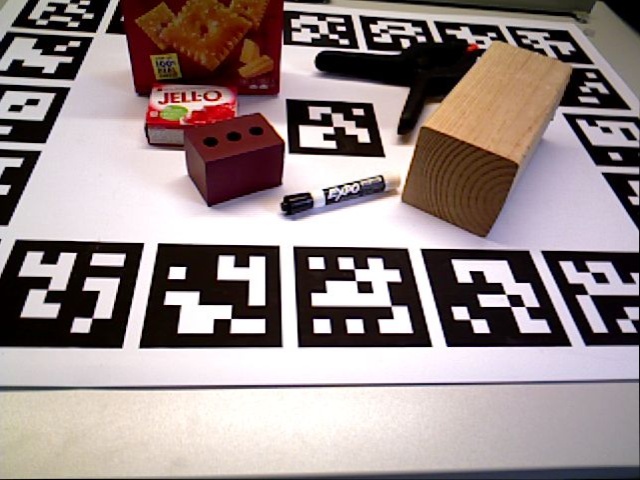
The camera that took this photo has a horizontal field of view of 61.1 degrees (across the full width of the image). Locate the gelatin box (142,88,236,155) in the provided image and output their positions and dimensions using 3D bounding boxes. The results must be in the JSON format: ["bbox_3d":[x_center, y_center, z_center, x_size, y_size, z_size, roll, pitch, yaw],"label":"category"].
[{"bbox_3d":[-0.129,-0.120,0.546,0.088,0.031,0.072,-1,51,-8],"label":"gelatin box"}]

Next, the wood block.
[{"bbox_3d":[0.166,-0.105,0.530,0.090,0.093,0.201,25,47,17],"label":"wood block"}]

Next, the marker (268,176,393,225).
[{"bbox_3d":[0.010,-0.036,0.491,0.119,0.020,0.019,-16,54,-20],"label":"marker"}]

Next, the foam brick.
[{"bbox_3d":[-0.079,-0.069,0.488,0.076,0.052,0.052,-20,56,-23],"label":"foam brick"}]

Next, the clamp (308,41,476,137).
[{"bbox_3d":[0.111,-0.200,0.639,0.199,0.037,0.165,-26,57,-26],"label":"clamp"}]

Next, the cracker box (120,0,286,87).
[{"bbox_3d":[-0.114,-0.261,0.537,0.162,0.219,0.071,-2,48,-12],"label":"cracker box"}]
